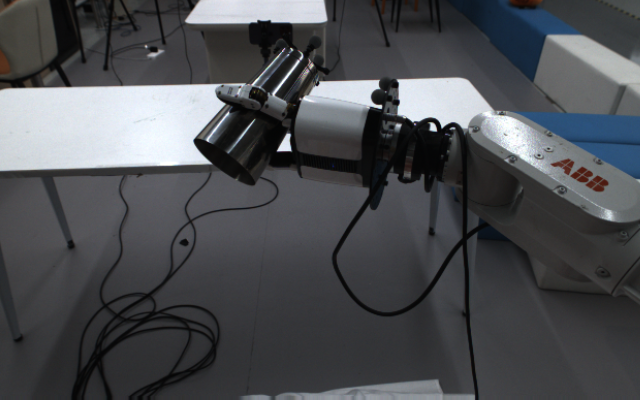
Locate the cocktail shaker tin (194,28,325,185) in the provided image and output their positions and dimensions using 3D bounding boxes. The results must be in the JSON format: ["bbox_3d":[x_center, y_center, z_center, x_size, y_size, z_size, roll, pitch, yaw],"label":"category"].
[{"bbox_3d":[-0.076,-0.116,0.624,0.093,0.093,0.170,24,69,28],"label":"cocktail shaker tin"}]
